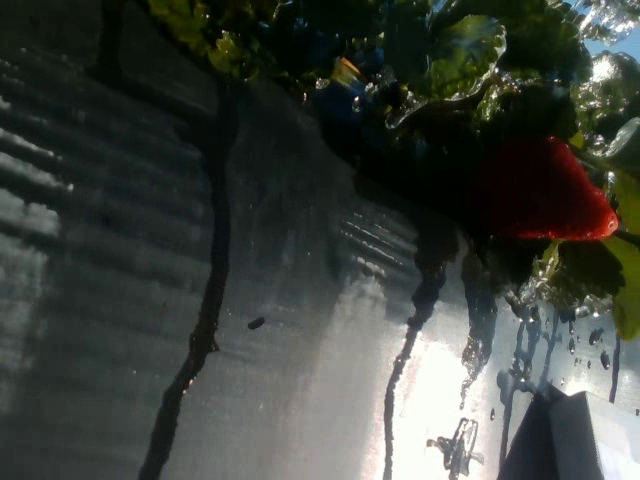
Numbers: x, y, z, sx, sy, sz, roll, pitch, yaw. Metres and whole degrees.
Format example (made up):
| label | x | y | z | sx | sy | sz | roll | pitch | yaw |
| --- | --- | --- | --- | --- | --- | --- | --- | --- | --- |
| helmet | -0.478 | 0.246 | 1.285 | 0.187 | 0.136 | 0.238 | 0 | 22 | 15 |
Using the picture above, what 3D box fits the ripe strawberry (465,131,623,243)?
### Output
| label | x | y | z | sx | sy | sz | roll | pitch | yaw |
| --- | --- | --- | --- | --- | --- | --- | --- | --- | --- |
| ripe strawberry | 0.077 | -0.013 | 0.185 | 0.041 | 0.047 | 0.053 | 22 | 13 | -27 |
